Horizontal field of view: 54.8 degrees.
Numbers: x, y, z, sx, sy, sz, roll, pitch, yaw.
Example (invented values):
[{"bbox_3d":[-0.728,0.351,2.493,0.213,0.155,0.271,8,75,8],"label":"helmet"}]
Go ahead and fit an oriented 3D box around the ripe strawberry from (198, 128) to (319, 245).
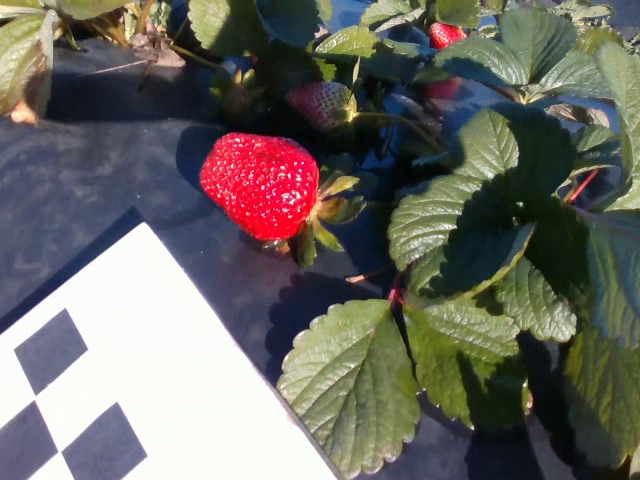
[{"bbox_3d":[-0.029,-0.025,0.269,0.058,0.066,0.061,-18,-34,38],"label":"ripe strawberry"}]
